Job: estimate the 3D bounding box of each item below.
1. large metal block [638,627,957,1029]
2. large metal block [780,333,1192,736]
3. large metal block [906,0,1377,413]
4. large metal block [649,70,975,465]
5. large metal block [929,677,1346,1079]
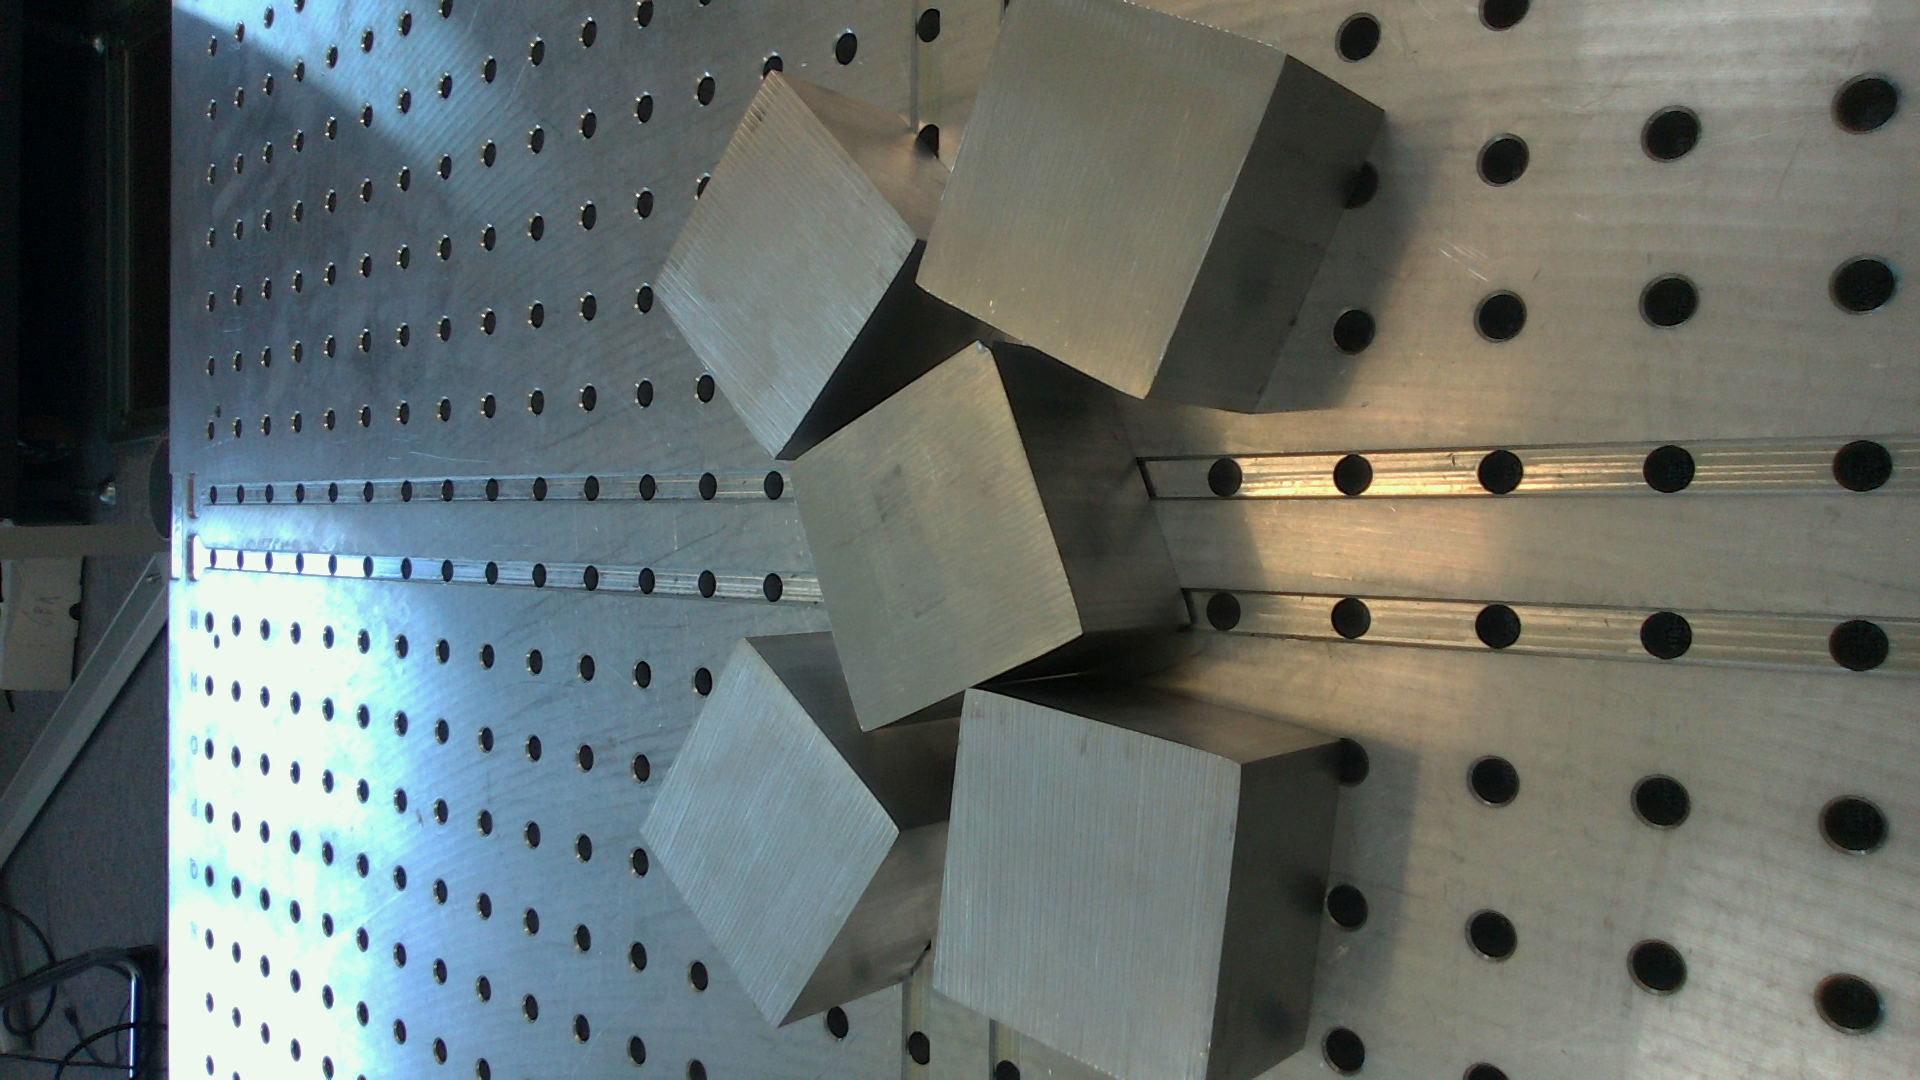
[{"bbox_3d":[-0.042,0.083,0.415,0.080,0.050,0.080,45,117,31],"label":"large metal block"},{"bbox_3d":[0.005,0.001,0.376,0.080,0.050,0.080,-29,72,37],"label":"large metal block"},{"bbox_3d":[0.043,-0.085,0.344,0.080,0.050,0.080,31,110,33],"label":"large metal block"},{"bbox_3d":[-0.039,-0.078,0.414,0.080,0.050,0.080,-52,59,28],"label":"large metal block"},{"bbox_3d":[0.043,0.083,0.345,0.080,0.050,0.080,11,97,39],"label":"large metal block"}]
